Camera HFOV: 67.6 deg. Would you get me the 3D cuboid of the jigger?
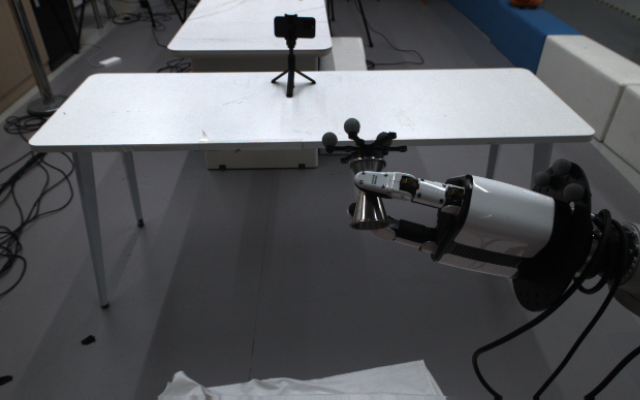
[{"bbox_3d":[0.053,-0.008,0.507,0.043,0.043,0.071,0,75,-4],"label":"jigger"}]
